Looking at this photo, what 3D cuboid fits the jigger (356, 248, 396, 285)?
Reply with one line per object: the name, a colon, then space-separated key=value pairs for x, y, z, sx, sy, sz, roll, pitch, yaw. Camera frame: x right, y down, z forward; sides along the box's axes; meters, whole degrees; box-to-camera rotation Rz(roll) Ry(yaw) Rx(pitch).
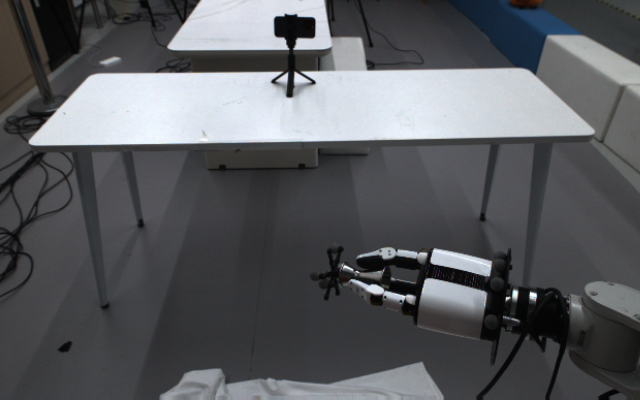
jigger: x=0.074 y=0.109 z=0.723 sx=0.071 sy=0.043 sz=0.043 roll=3 pitch=32 yaw=26
